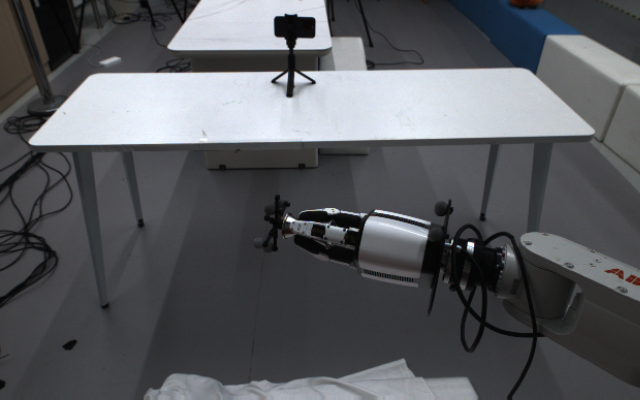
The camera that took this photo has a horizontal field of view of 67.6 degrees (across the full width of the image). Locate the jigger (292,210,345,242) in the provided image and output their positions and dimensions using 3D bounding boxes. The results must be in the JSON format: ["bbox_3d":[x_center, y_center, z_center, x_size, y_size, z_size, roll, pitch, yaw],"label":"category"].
[{"bbox_3d":[-0.010,0.039,0.693,0.071,0.043,0.043,10,35,16],"label":"jigger"}]
